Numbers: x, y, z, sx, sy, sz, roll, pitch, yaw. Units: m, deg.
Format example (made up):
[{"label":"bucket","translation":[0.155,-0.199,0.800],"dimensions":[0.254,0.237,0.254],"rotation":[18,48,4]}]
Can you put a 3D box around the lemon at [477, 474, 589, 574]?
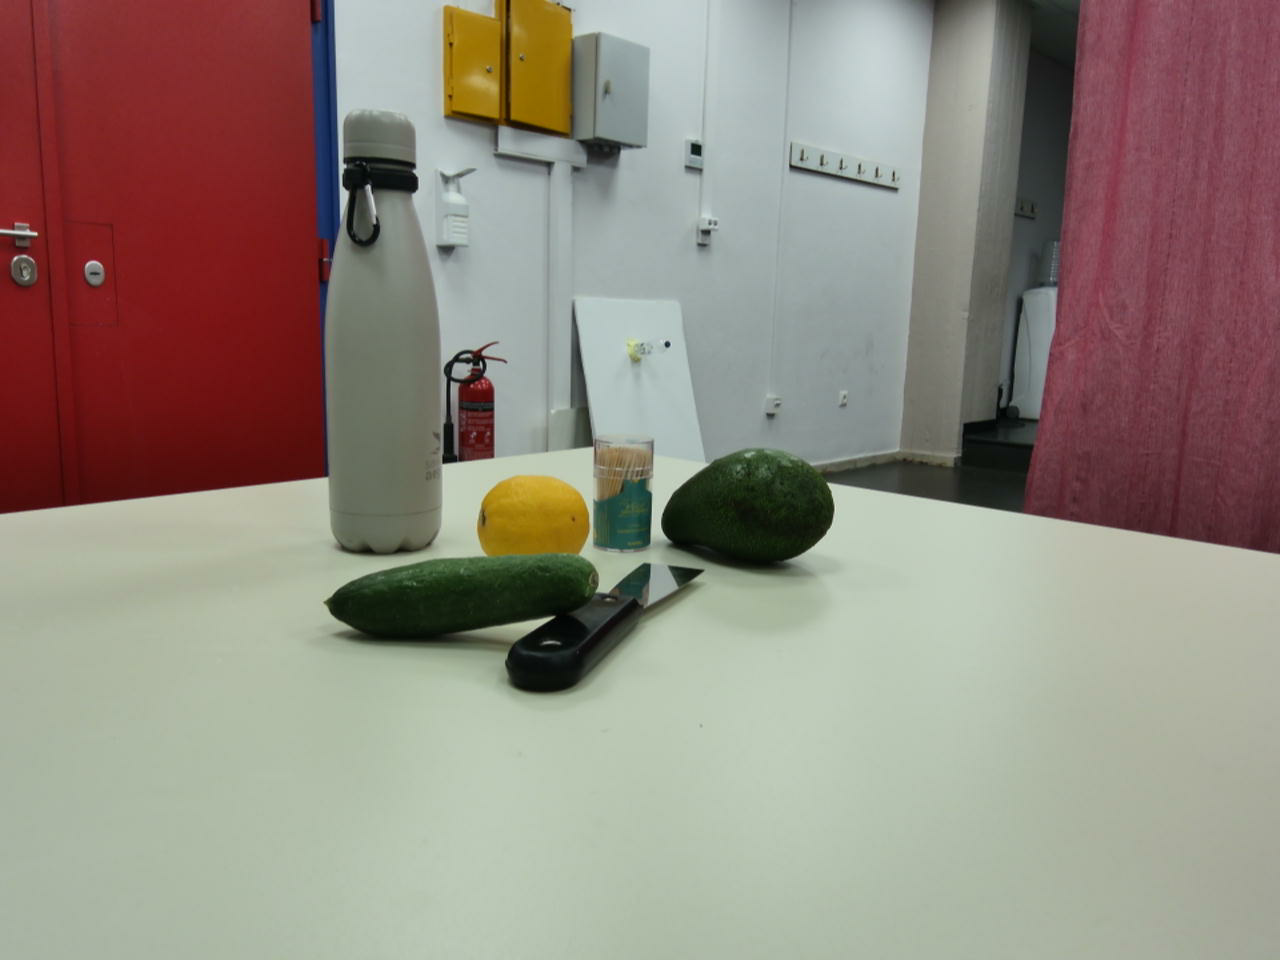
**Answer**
[{"label":"lemon","translation":[-0.064,0.026,0.601],"dimensions":[0.067,0.059,0.061],"rotation":[0,8,-5]}]
